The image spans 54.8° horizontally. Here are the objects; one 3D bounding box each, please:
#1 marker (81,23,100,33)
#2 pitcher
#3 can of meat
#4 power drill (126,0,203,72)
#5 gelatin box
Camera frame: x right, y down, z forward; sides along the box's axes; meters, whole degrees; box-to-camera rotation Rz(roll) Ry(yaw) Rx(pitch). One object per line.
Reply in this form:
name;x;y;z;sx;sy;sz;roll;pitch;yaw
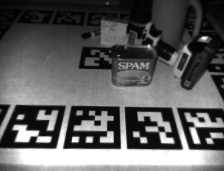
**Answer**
marker;-0.040;-0.185;0.673;0.122;0.020;0.019;-20;51;-20
pitcher;0.161;-0.216;0.575;0.186;0.244;0.134;21;52;25
can of meat;0.043;-0.051;0.503;0.102;0.084;0.057;0;44;-4
power drill;0.112;-0.128;0.518;0.185;0.185;0.057;31;55;17
gelatin box;0.015;-0.162;0.621;0.089;0.073;0.030;9;50;4
